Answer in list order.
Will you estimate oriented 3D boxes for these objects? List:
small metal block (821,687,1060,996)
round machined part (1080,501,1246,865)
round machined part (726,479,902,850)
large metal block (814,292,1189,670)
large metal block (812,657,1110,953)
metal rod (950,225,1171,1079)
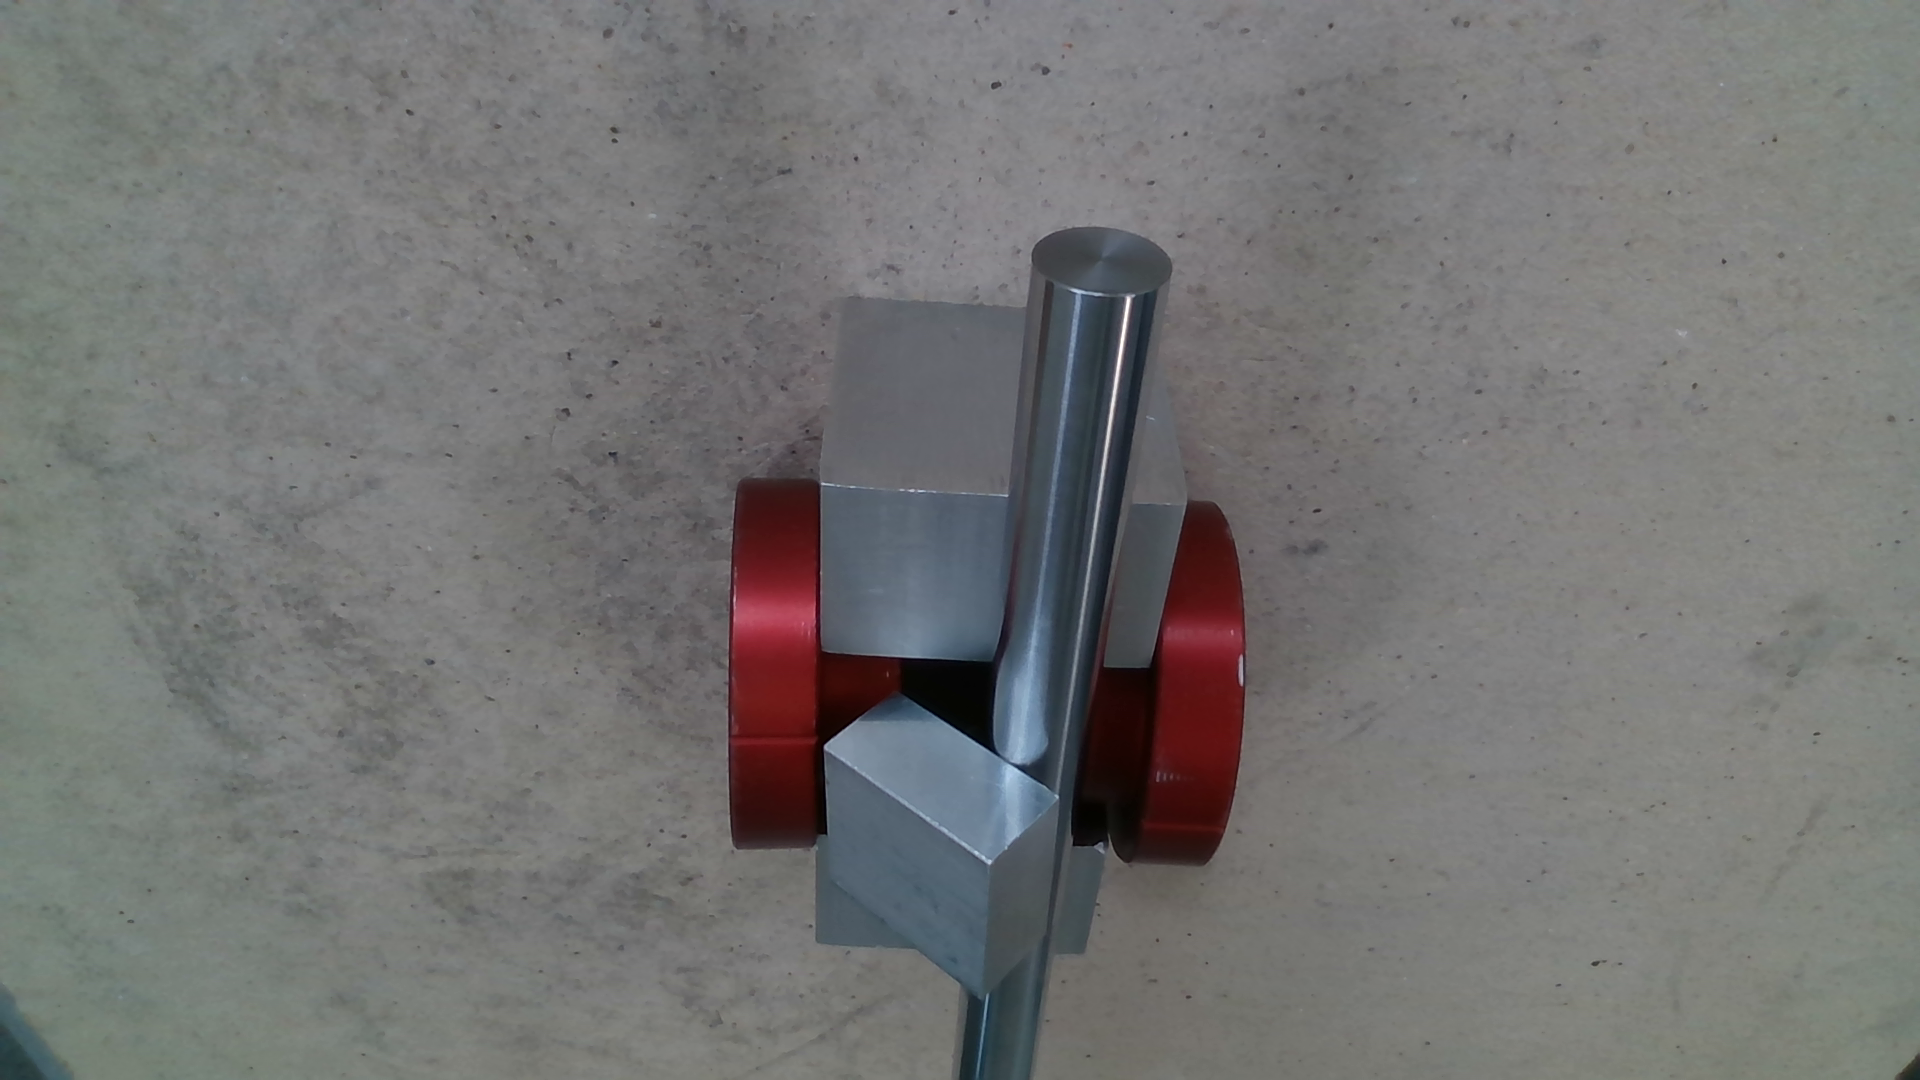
[{"bbox_3d":[-0.005,0.071,0.327,0.050,0.025,0.050,29,136,30],"label":"small metal block"},{"bbox_3d":[0.045,0.037,0.373,0.042,0.098,0.098,3,130,-2],"label":"round machined part"},{"bbox_3d":[-0.039,0.033,0.369,0.042,0.098,0.098,0,130,-7],"label":"round machined part"},{"bbox_3d":[0.007,-0.016,0.340,0.080,0.080,0.050,3,130,-3],"label":"large metal block"},{"bbox_3d":[-0.001,0.074,0.416,0.080,0.080,0.050,3,130,-2],"label":"large metal block"},{"bbox_3d":[0.016,0.065,0.340,0.025,0.025,0.301,2,130,-2],"label":"metal rod"}]
